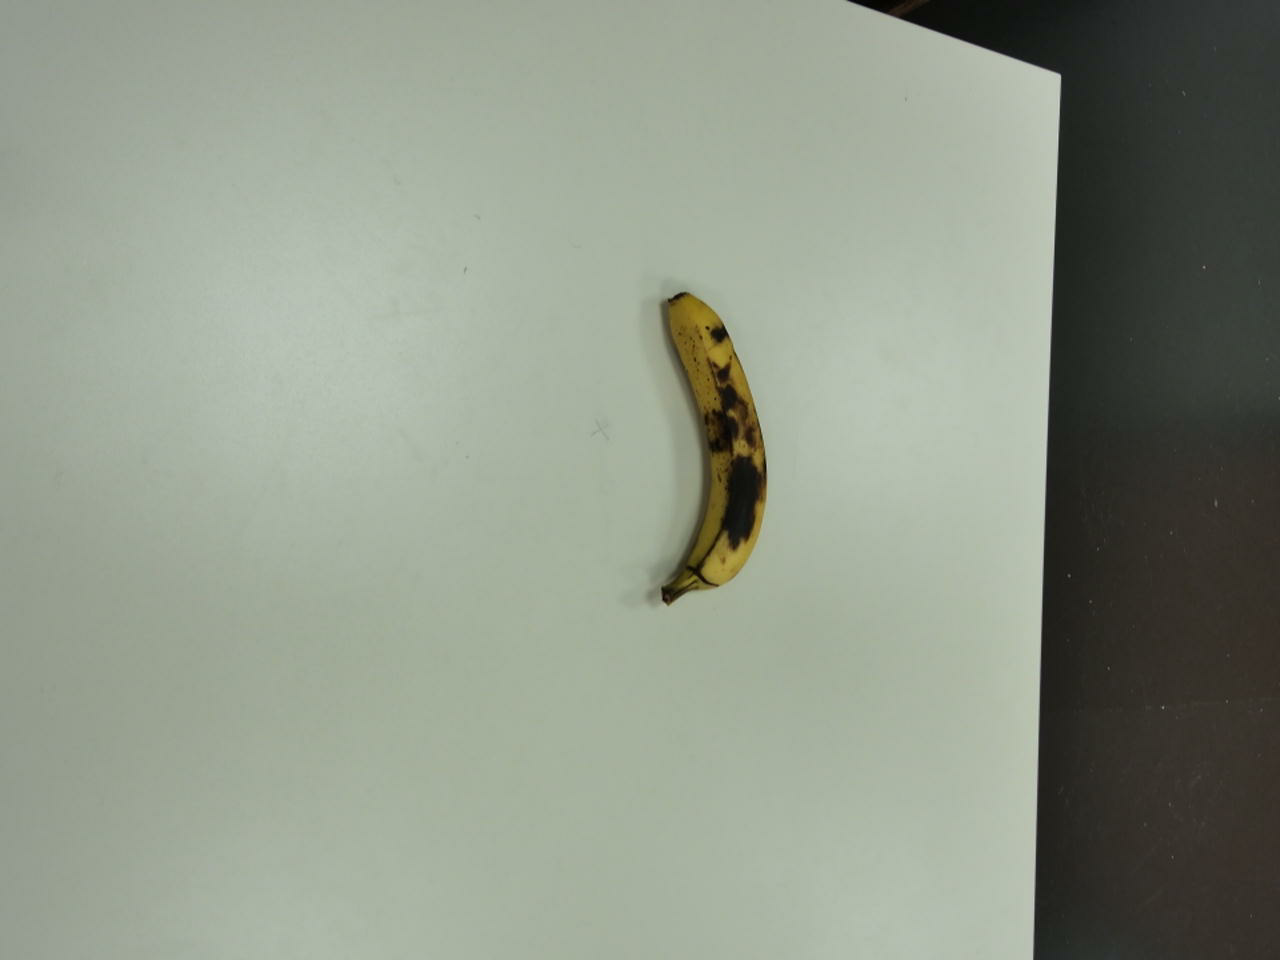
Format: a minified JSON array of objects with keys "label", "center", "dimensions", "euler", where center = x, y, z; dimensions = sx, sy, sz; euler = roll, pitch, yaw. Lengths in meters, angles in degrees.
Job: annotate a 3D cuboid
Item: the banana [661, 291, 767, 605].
[{"label":"banana","center":[0.055,-0.021,0.722],"dimensions":[0.084,0.038,0.222],"euler":[4,88,-28]}]
